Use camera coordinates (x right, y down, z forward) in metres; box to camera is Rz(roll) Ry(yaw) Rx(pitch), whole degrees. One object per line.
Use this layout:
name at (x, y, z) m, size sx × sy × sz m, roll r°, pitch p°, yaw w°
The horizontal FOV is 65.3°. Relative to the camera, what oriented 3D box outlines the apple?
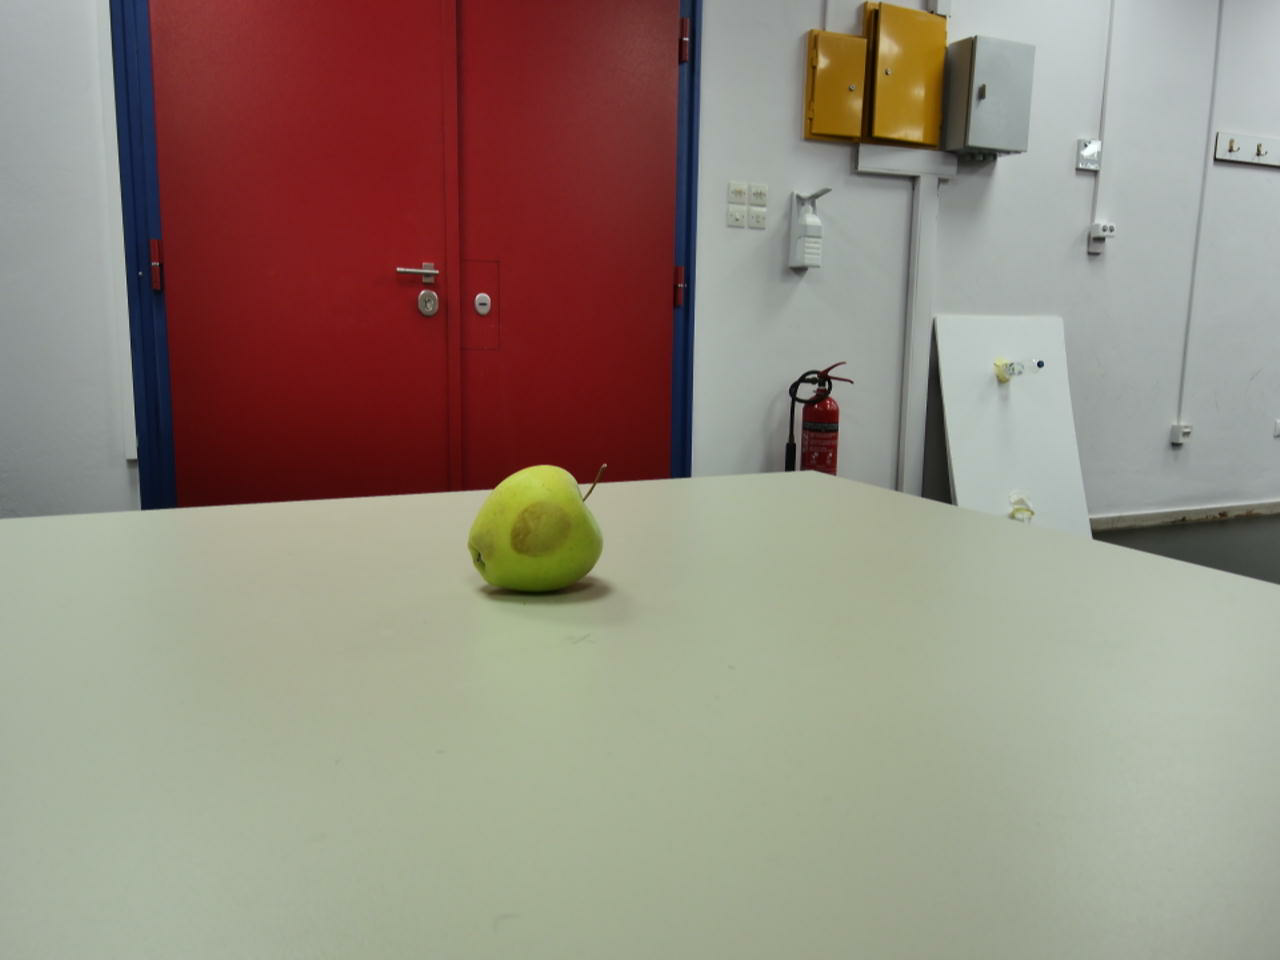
apple at (-0.062, 0.028, 0.603) m, size 0.077 × 0.075 × 0.072 m, roll 4°, pitch 8°, yaw 19°
